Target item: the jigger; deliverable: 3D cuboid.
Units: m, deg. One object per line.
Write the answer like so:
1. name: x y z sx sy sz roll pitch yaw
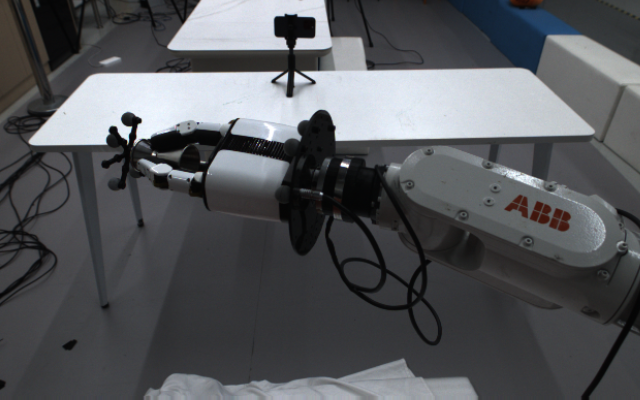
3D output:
1. jigger: -0.177 -0.050 0.574 0.071 0.043 0.043 11 36 15
